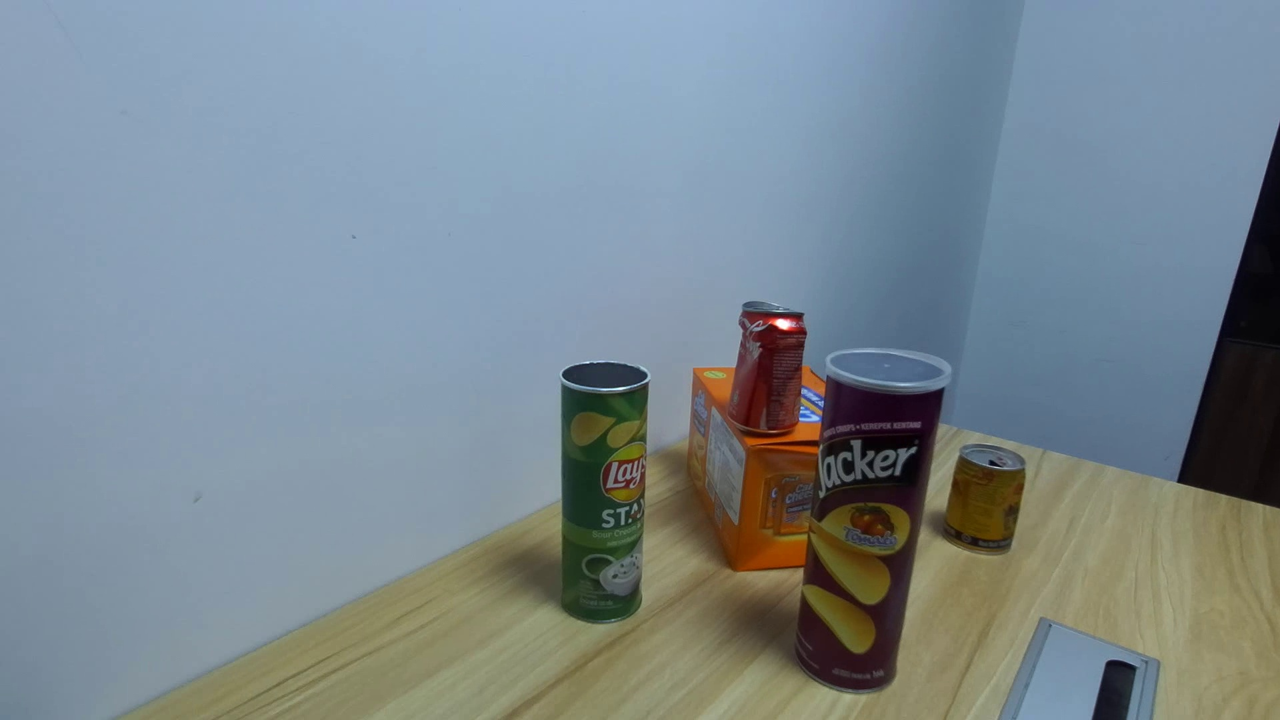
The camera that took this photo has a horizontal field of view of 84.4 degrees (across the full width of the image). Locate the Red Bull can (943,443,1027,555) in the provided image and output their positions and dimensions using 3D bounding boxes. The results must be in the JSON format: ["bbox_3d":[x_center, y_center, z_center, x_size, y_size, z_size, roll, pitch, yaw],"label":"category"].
[{"bbox_3d":[0.344,0.138,0.705,0.069,0.092,0.069,2,16,0],"label":"Red Bull can"}]

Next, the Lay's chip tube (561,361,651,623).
[{"bbox_3d":[-0.029,0.106,0.569,0.071,0.202,0.071,2,17,0],"label":"Lay's chip tube"}]

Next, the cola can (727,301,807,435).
[{"bbox_3d":[0.113,0.007,0.624,0.065,0.112,0.069,5,17,10],"label":"cola can"}]

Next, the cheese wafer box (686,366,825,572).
[{"bbox_3d":[0.148,0.099,0.740,0.150,0.137,0.226,0,18,-9],"label":"cheese wafer box"}]

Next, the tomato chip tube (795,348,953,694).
[{"bbox_3d":[0.160,0.115,0.501,0.078,0.234,0.078,1,18,0],"label":"tomato chip tube"}]
